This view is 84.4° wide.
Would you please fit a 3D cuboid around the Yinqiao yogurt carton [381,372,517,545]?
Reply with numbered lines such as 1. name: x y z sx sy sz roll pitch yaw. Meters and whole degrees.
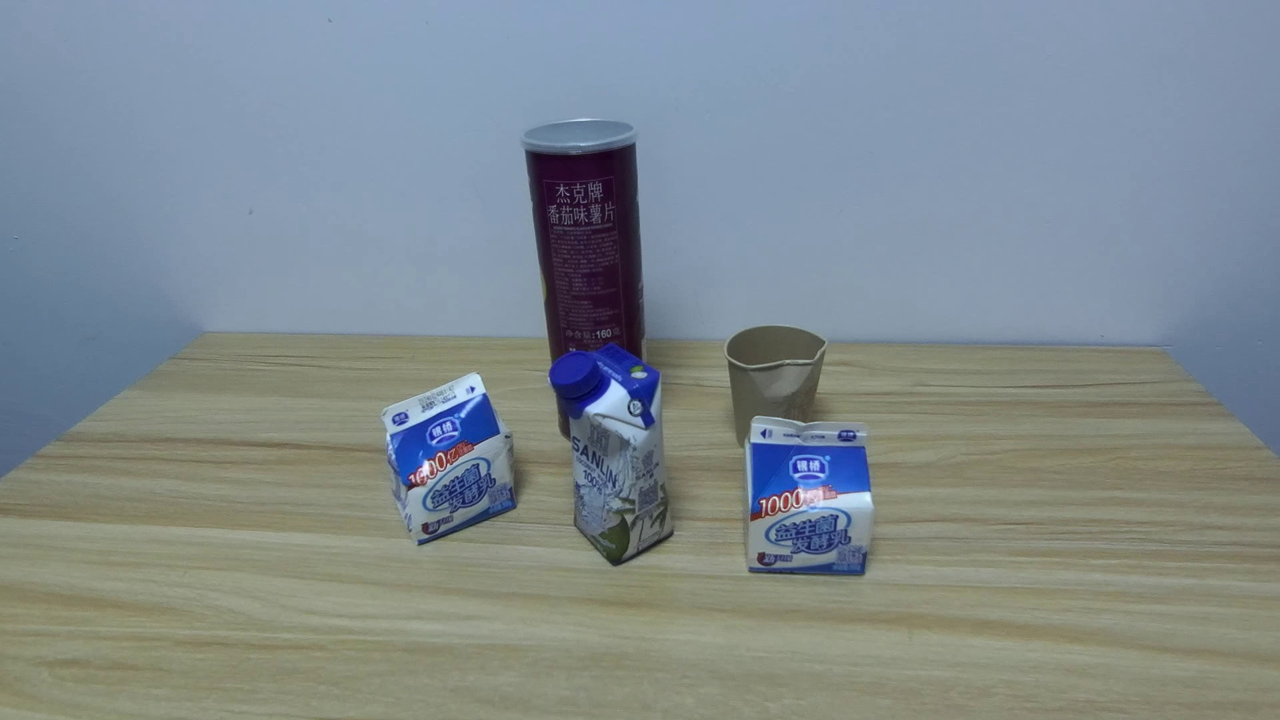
1. Yinqiao yogurt carton: -0.134 0.058 0.491 0.083 0.093 0.077 -18 33 -23

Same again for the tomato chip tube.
1. tomato chip tube: -0.034 -0.049 0.526 0.078 0.234 0.078 -2 28 1

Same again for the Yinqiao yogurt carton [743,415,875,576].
1. Yinqiao yogurt carton: 0.103 0.074 0.439 0.075 0.092 0.073 2 30 4

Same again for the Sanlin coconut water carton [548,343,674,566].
1. Sanlin coconut water carton: -0.018 0.054 0.440 0.058 0.142 0.077 -27 37 -26

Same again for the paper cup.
1. paper cup: 0.098 0.025 0.529 0.068 0.081 0.073 12 31 24
